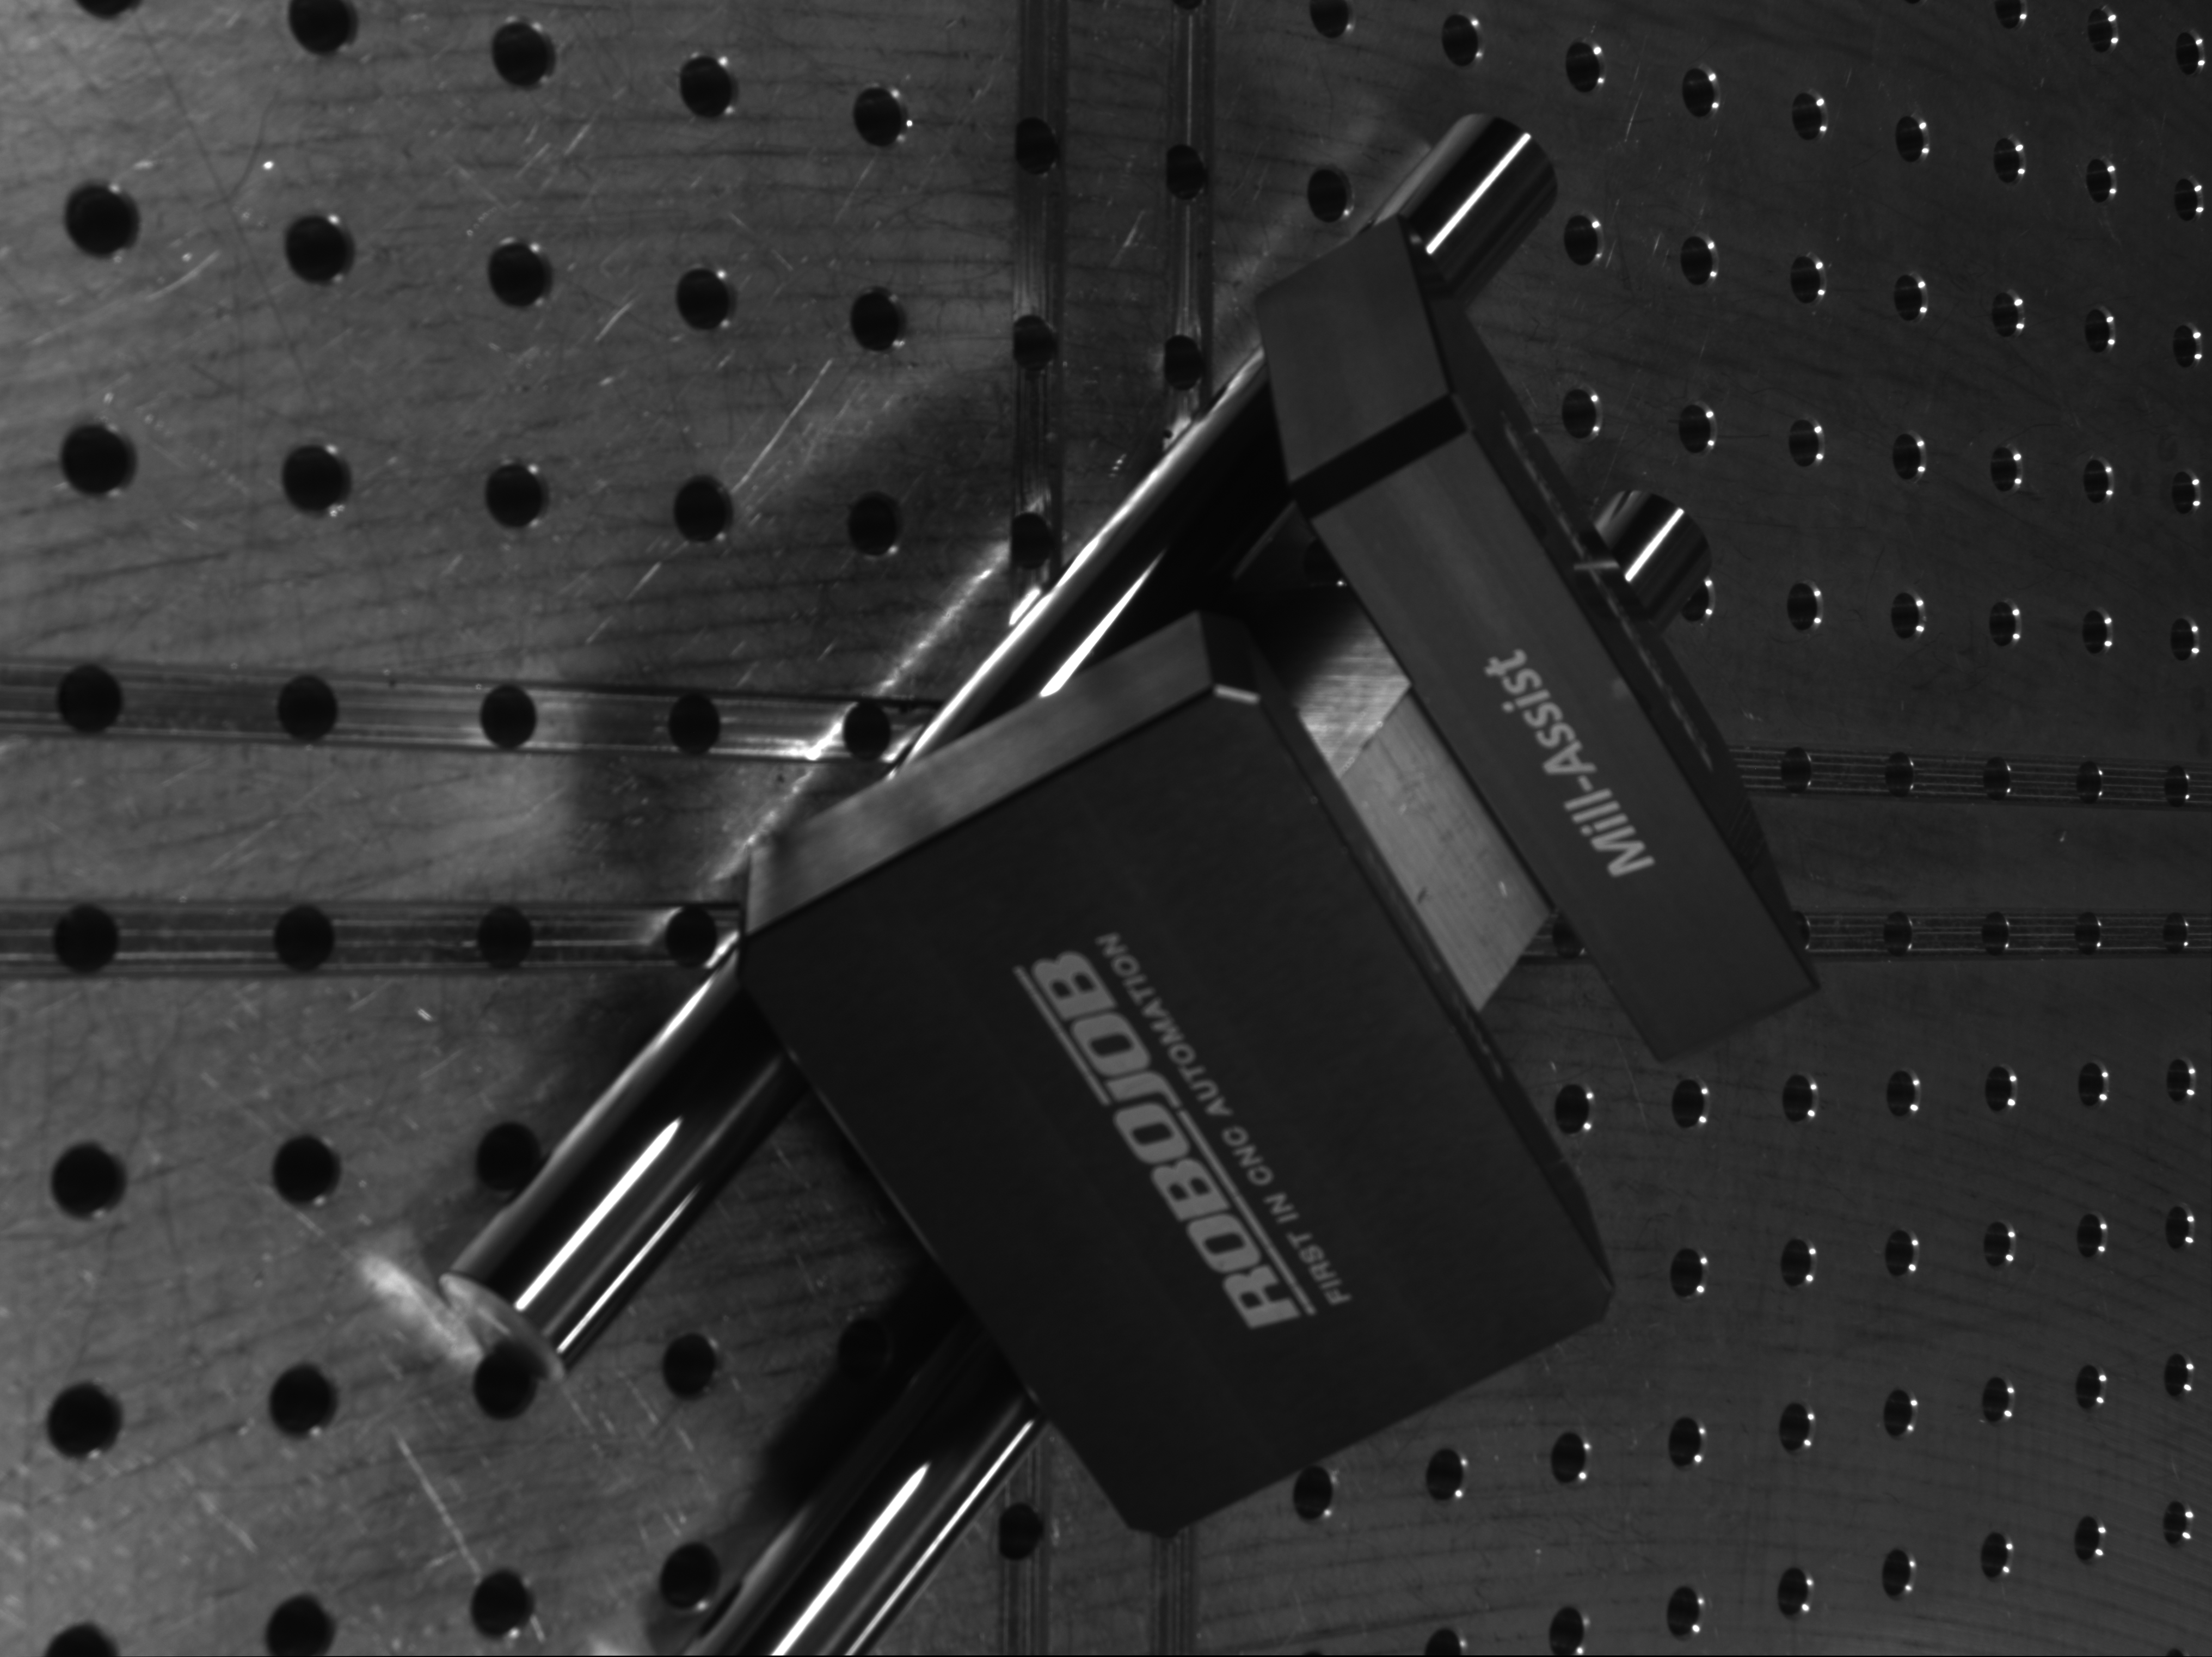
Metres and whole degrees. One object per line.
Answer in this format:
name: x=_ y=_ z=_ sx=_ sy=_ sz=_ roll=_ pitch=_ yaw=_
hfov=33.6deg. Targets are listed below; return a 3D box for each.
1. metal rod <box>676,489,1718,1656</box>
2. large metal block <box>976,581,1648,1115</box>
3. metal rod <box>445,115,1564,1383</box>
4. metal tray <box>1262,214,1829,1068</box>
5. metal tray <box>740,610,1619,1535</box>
metal rod: x=0.026 y=0.042 z=0.662 sx=0.300 sy=0.025 sz=0.025 roll=-49 pitch=119 yaw=-28
large metal block: x=0.032 y=0.002 z=0.631 sx=0.080 sy=0.080 sz=0.050 roll=-50 pitch=119 yaw=-28
metal rod: x=-0.007 y=-0.025 z=0.634 sx=0.300 sy=0.025 sz=0.025 roll=-50 pitch=119 yaw=-28
metal tray: x=0.075 y=-0.033 z=0.632 sx=0.130 sy=0.030 sz=0.090 roll=54 pitch=15 yaw=-26
metal tray: x=0.013 y=0.041 z=0.581 sx=0.090 sy=0.030 sz=0.130 roll=-28 pitch=115 yaw=10
